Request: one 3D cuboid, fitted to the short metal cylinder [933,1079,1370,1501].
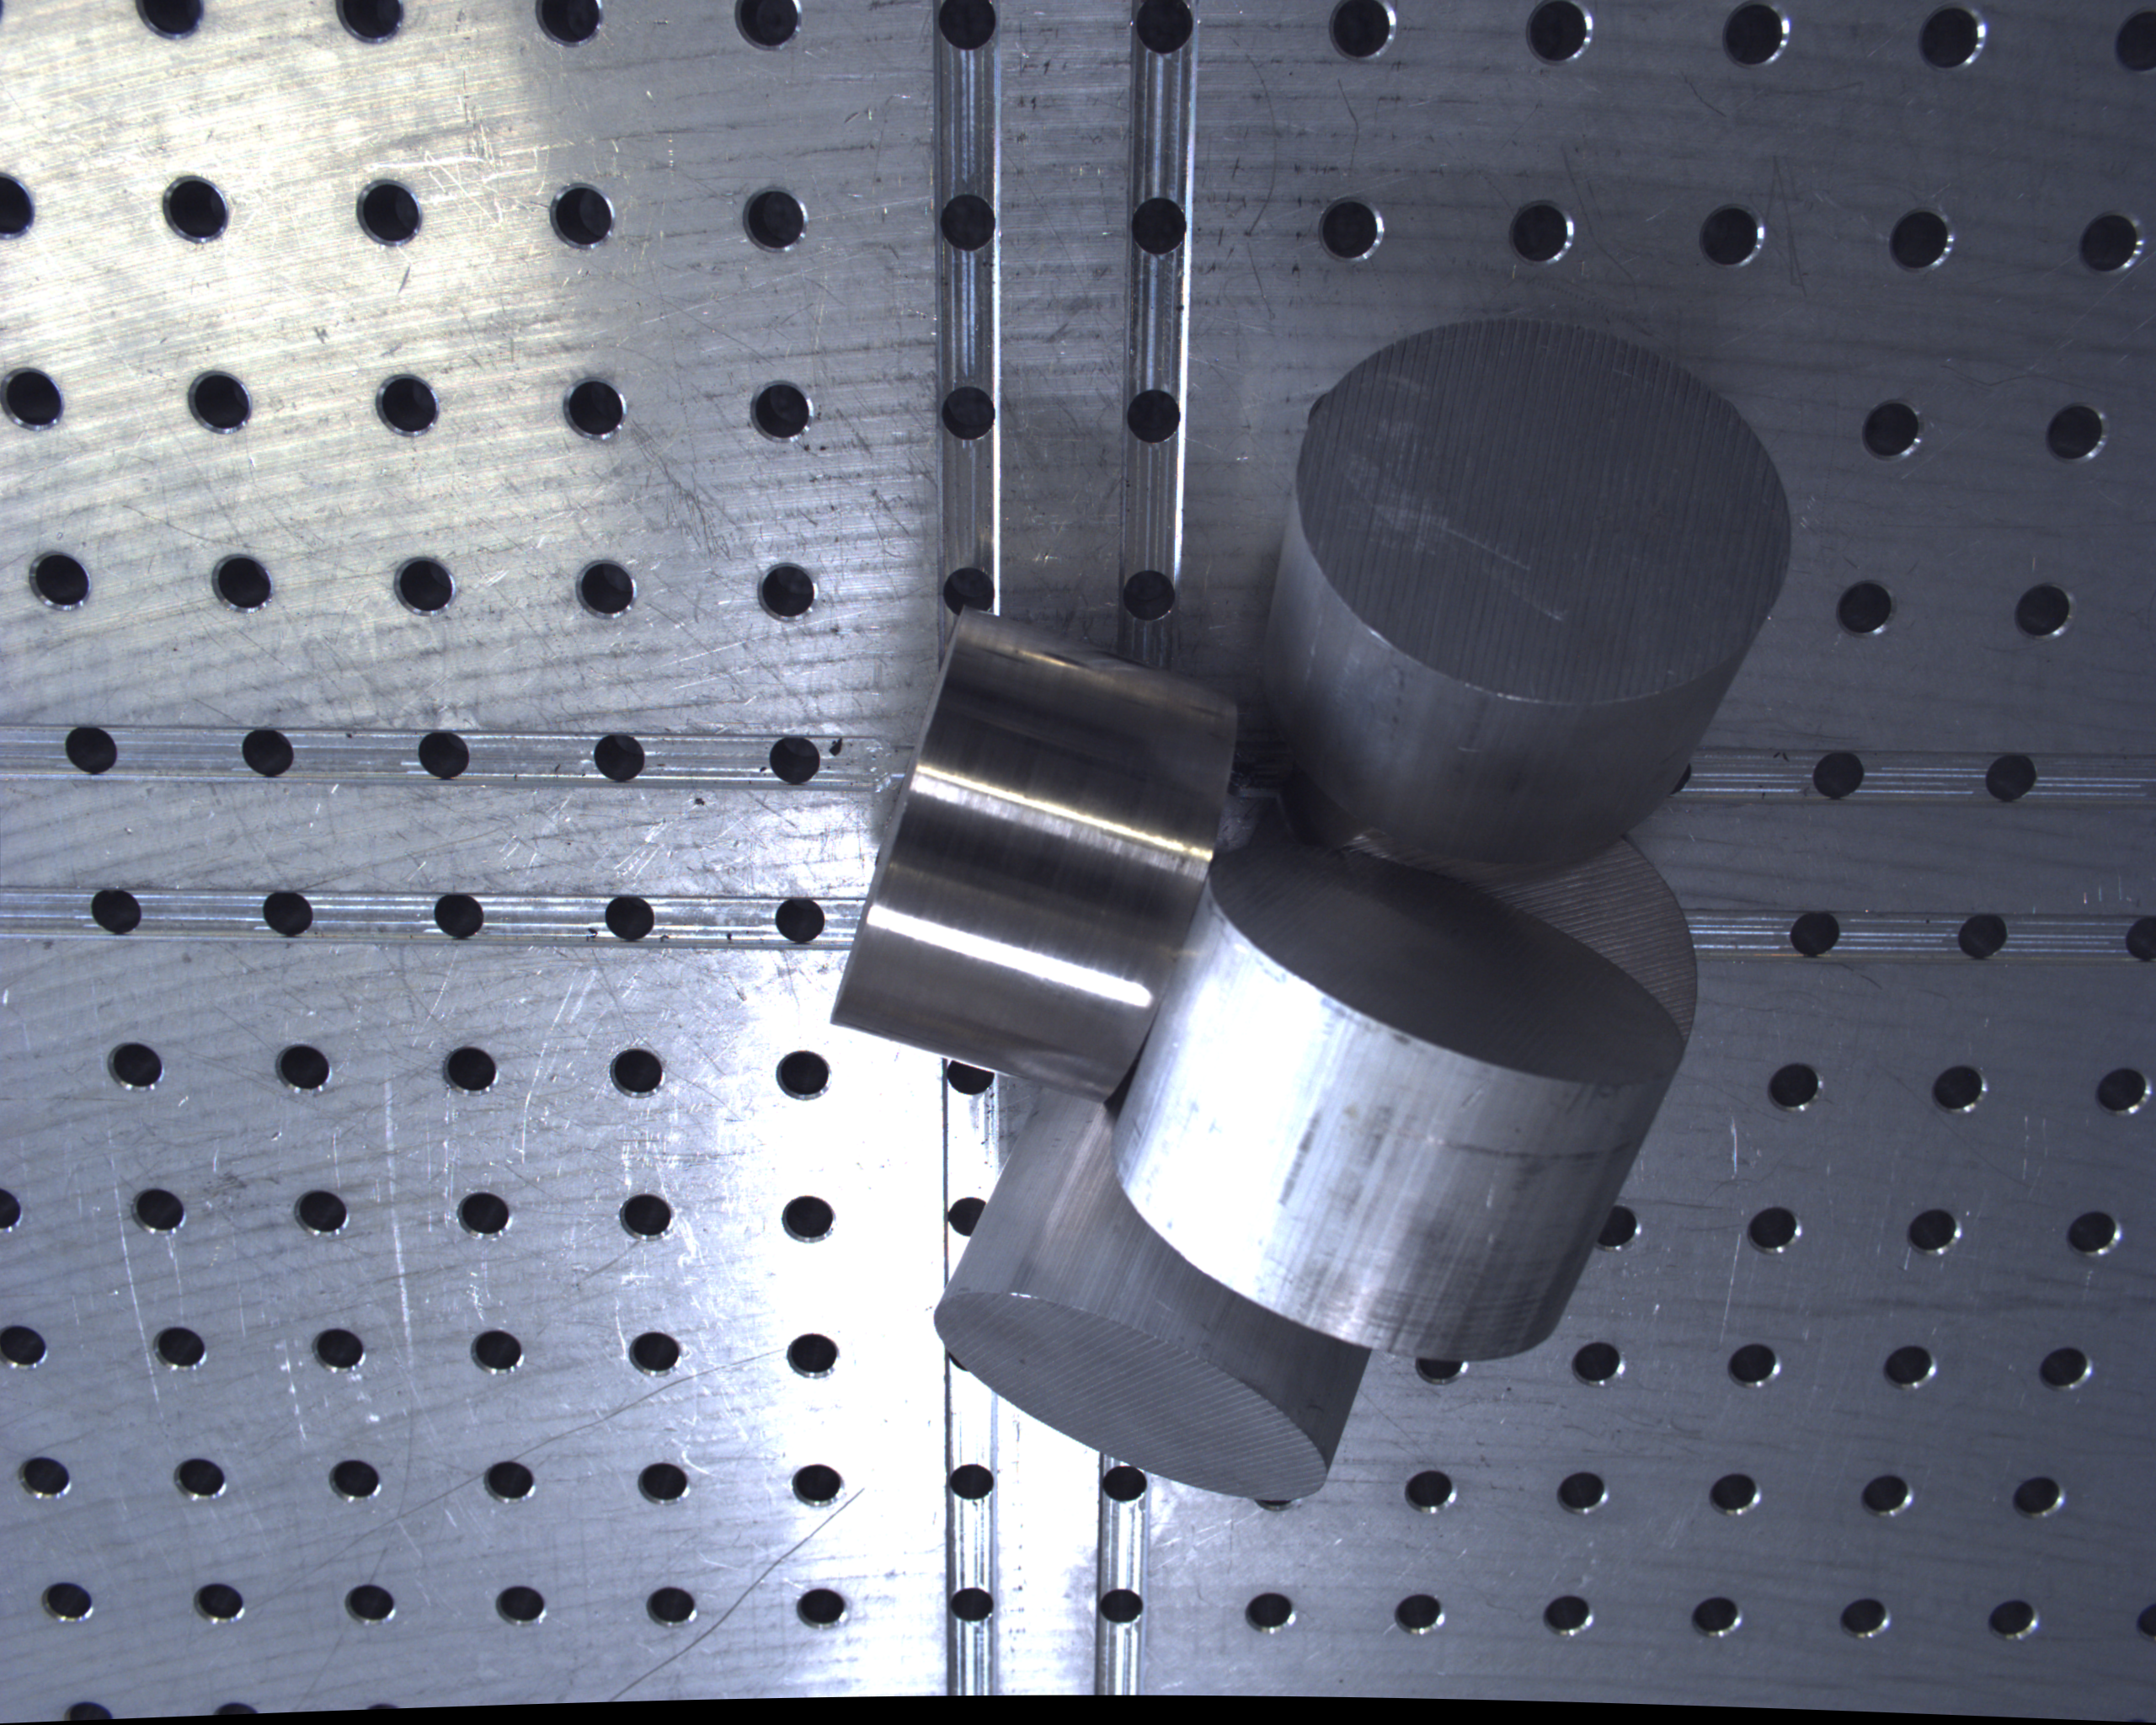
[{"bbox_3d":[0.019,0.083,0.408,0.080,0.050,0.080,19,149,12],"label":"short metal cylinder"}]

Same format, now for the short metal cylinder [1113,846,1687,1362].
[{"bbox_3d":[0.052,0.037,0.344,0.080,0.080,0.050,16,109,-6],"label":"short metal cylinder"}]

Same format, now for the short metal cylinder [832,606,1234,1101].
[{"bbox_3d":[-0.009,-0.002,0.383,0.050,0.080,0.079,18,109,-7],"label":"short metal cylinder"}]

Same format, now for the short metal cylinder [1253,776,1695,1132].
[{"bbox_3d":[0.073,0.018,0.406,0.081,0.050,0.079,0,109,0],"label":"short metal cylinder"}]

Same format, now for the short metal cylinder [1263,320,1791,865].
[{"bbox_3d":[0.075,-0.046,0.360,0.081,0.080,0.050,2,150,-1],"label":"short metal cylinder"}]
